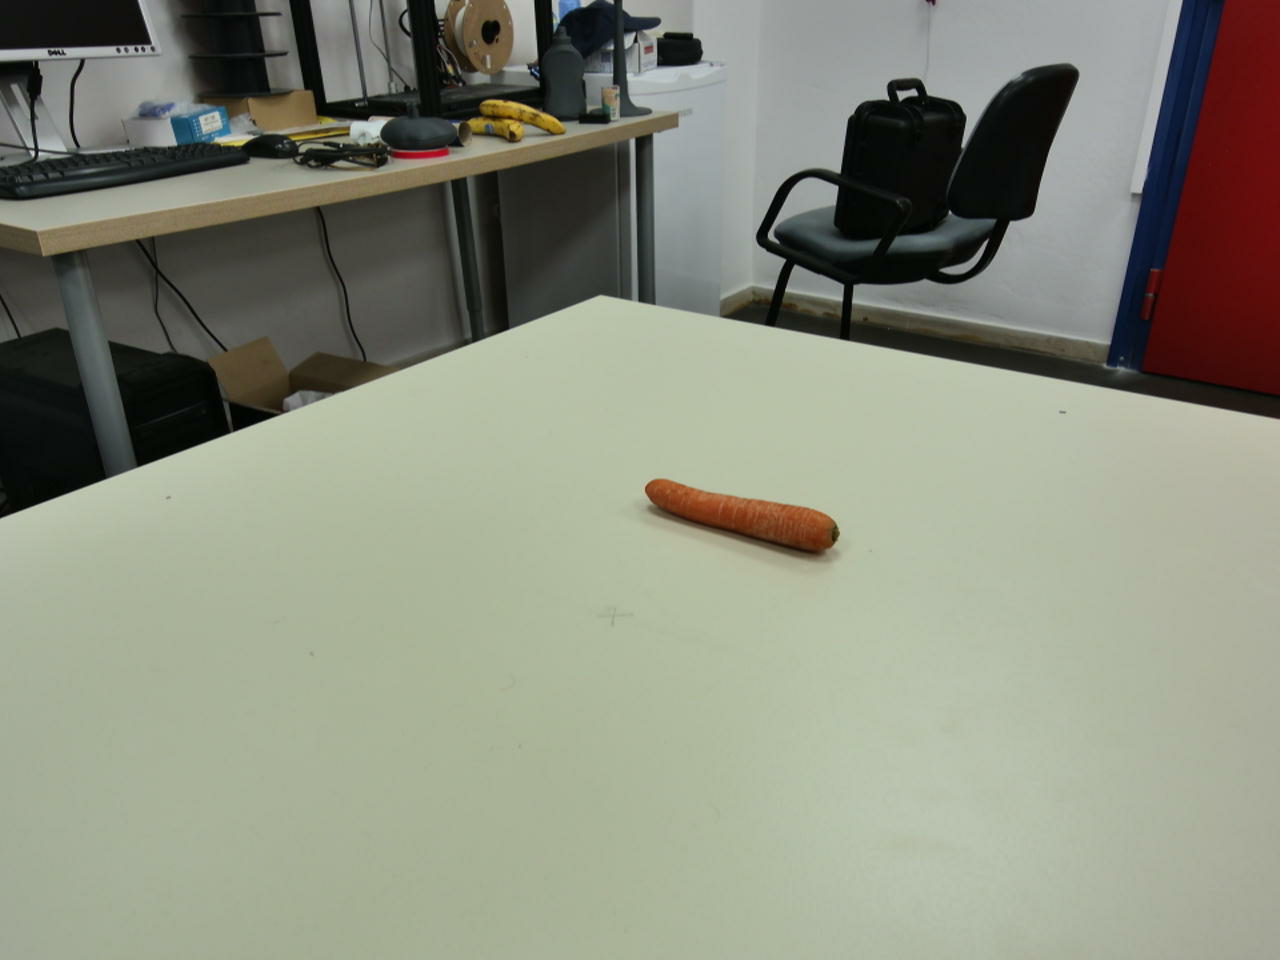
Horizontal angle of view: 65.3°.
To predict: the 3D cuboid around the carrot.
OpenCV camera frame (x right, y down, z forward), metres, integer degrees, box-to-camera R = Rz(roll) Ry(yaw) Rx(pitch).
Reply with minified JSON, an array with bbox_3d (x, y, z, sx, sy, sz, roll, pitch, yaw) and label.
[{"bbox_3d":[0.055,0.018,0.571,0.122,0.023,0.024,15,28,30],"label":"carrot"}]
